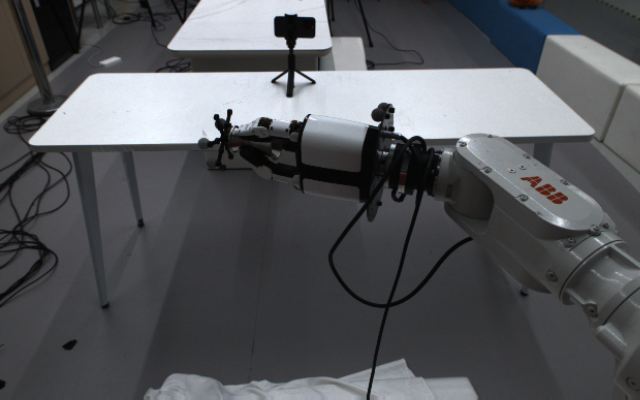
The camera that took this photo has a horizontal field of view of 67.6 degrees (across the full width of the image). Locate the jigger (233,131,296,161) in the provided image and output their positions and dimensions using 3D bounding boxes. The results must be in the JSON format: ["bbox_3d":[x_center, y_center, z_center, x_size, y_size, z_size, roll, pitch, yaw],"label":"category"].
[{"bbox_3d":[-0.088,-0.088,0.700,0.071,0.043,0.043,10,35,16],"label":"jigger"}]
